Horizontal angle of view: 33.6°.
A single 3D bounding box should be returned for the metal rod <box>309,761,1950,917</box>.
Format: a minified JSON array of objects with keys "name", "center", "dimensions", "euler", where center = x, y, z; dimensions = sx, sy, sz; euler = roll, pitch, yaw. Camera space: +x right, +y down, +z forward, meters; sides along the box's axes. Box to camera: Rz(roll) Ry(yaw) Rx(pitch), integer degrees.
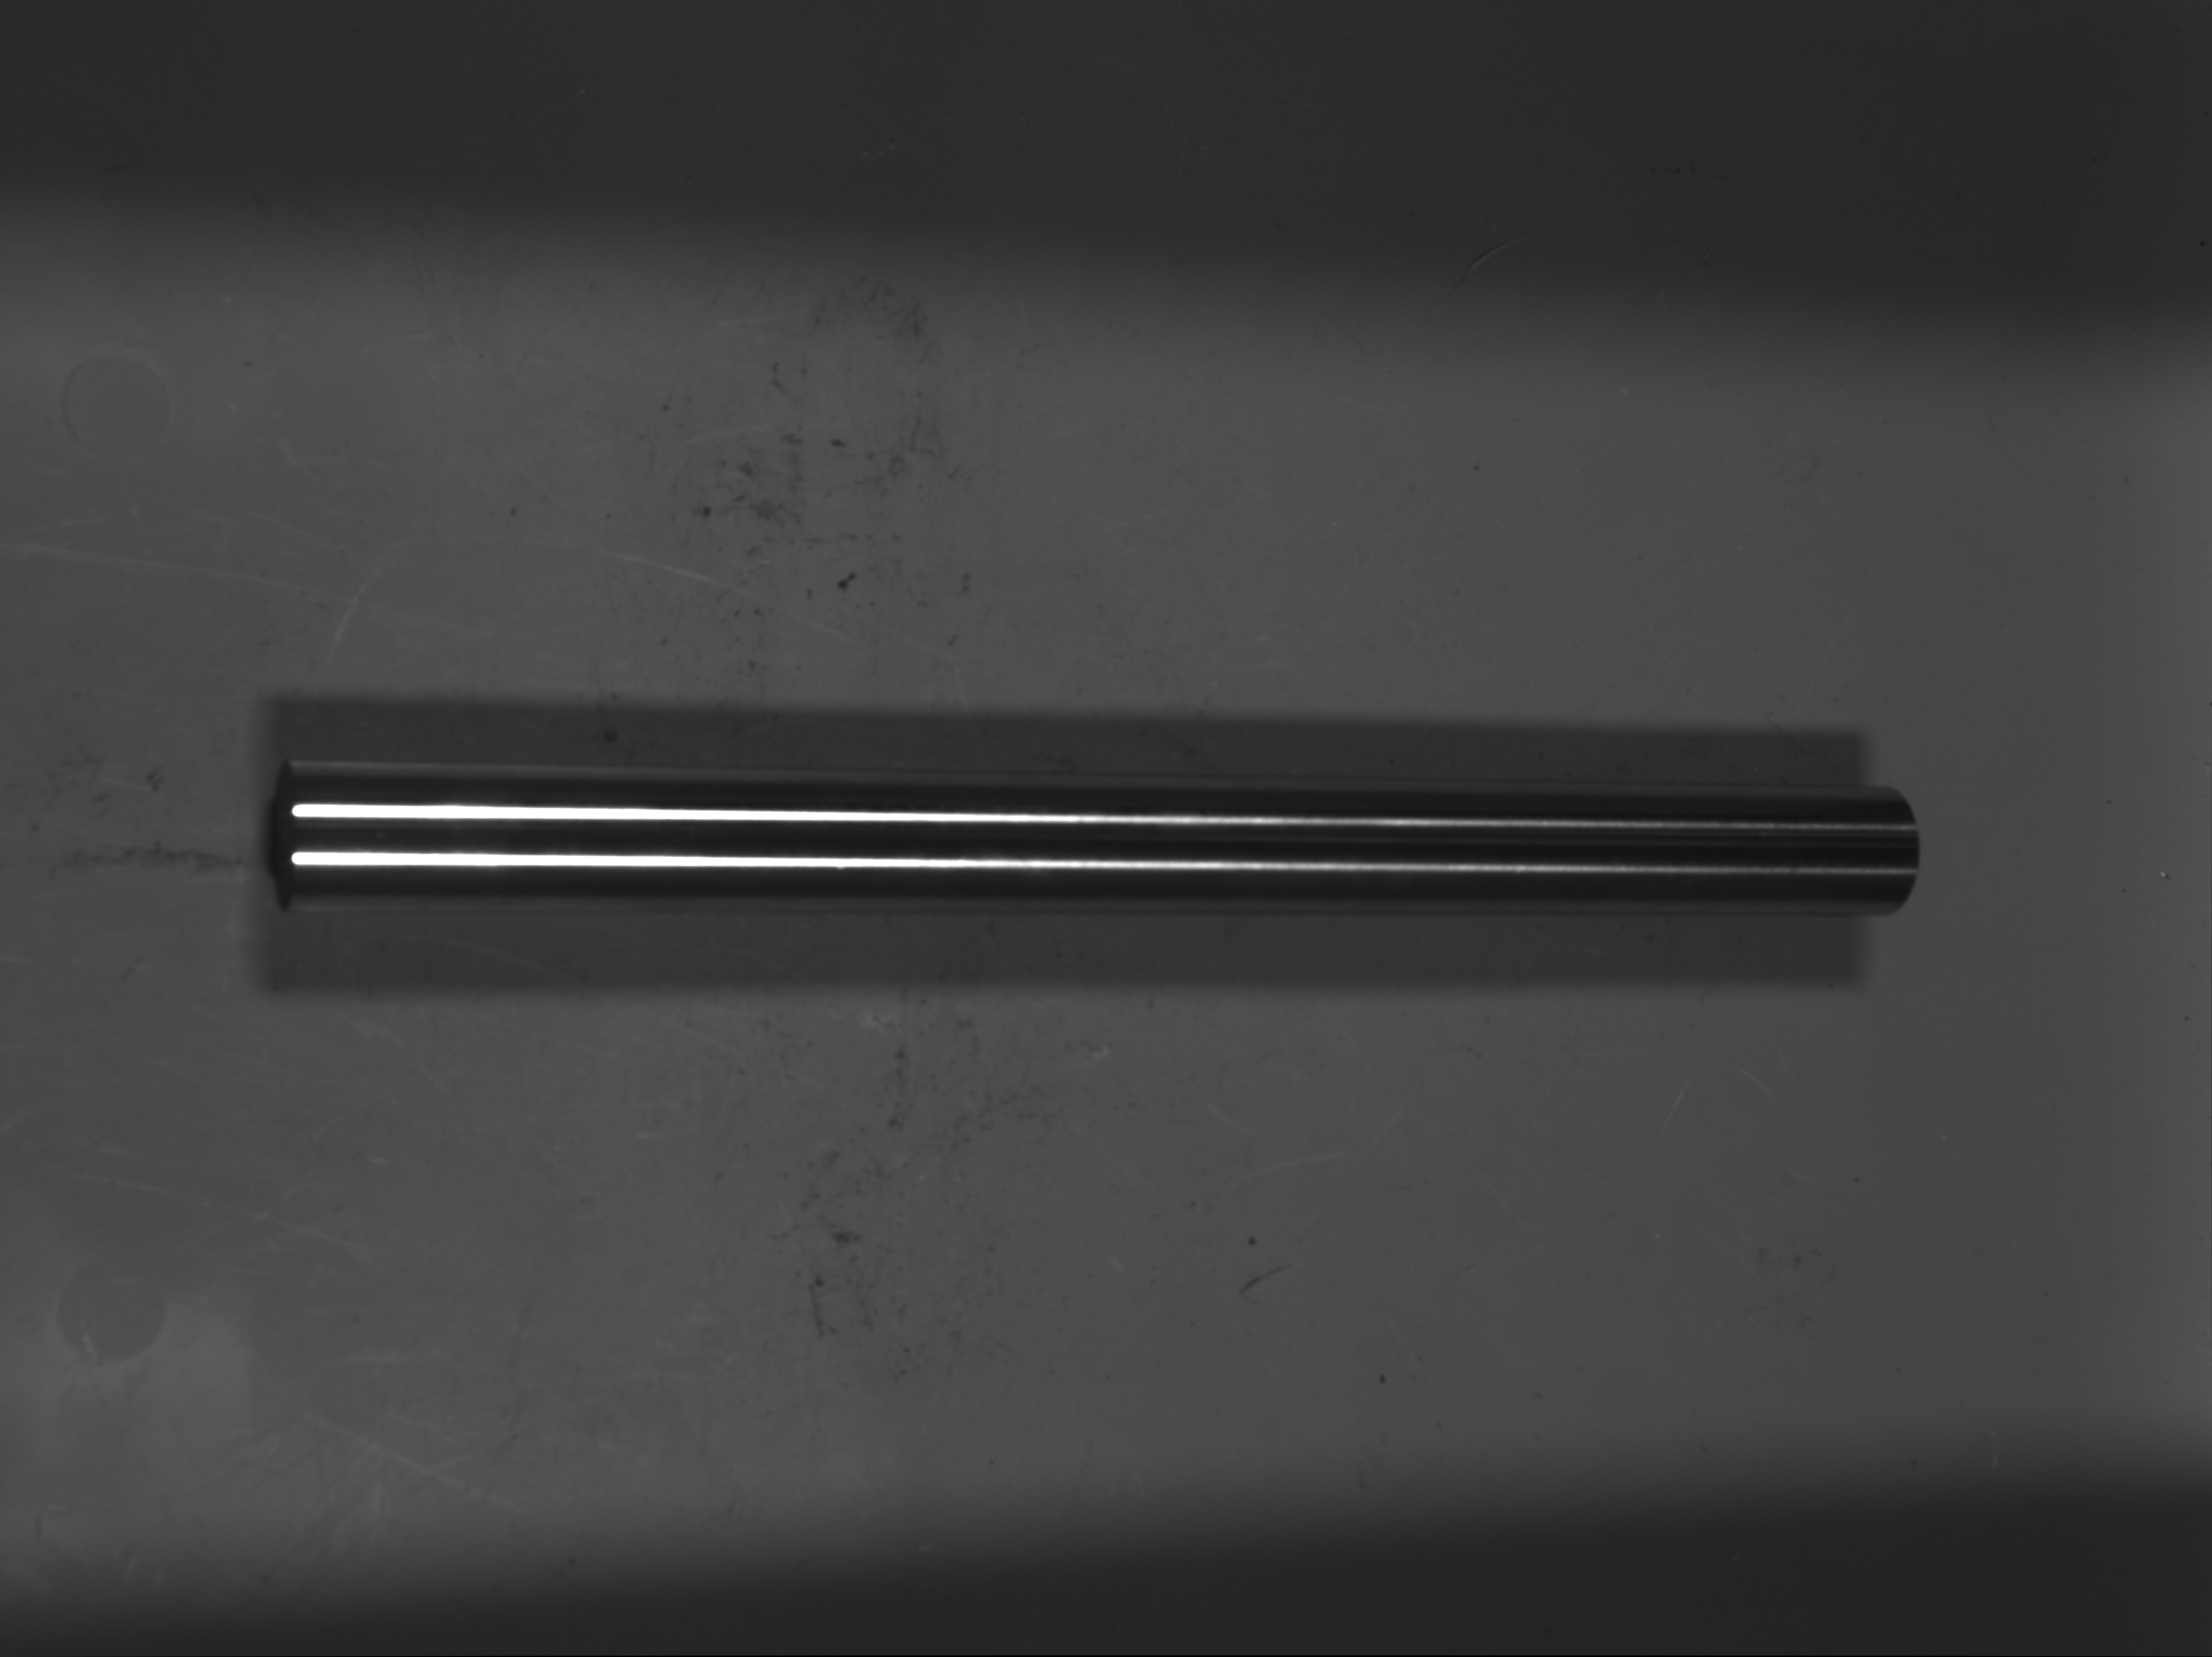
[{"name":"metal rod","center":[0.013,0.003,0.646],"dimensions":[0.301,0.025,0.025],"euler":[1,90,-20]}]
